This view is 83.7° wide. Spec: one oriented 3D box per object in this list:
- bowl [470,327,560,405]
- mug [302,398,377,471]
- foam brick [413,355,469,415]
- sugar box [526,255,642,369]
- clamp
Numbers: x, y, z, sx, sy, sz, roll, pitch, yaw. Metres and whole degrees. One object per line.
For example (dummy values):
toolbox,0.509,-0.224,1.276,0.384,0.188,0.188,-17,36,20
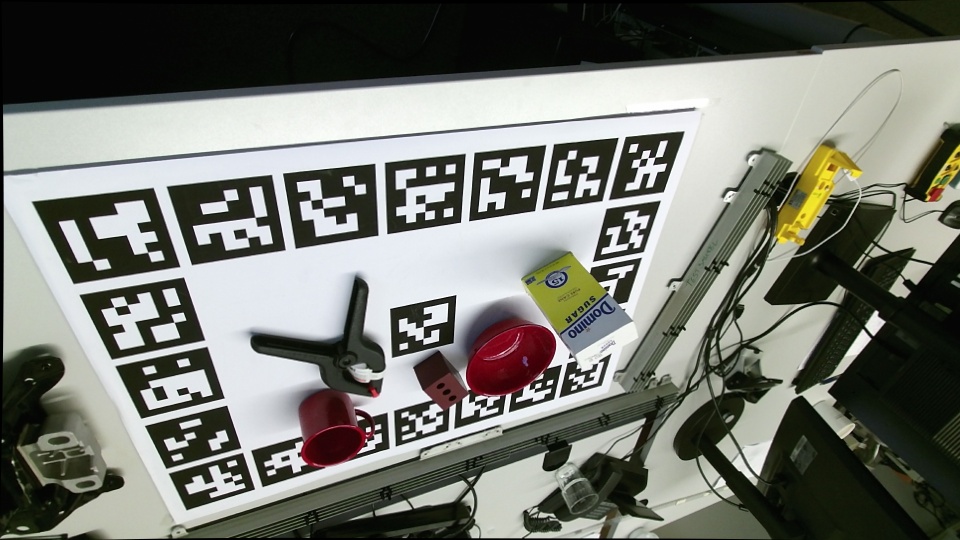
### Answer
bowl,0.050,0.148,0.889,0.162,0.055,0.161,-13,127,-18
mug,-0.212,0.250,0.807,0.118,0.081,0.093,15,114,-31
foam brick,-0.063,0.187,0.869,0.053,0.051,0.078,-33,130,-4
sugar box,0.148,0.057,0.795,0.093,0.176,0.045,-30,129,-4
clamp,-0.182,0.129,0.761,0.166,0.036,0.203,-31,130,-7
